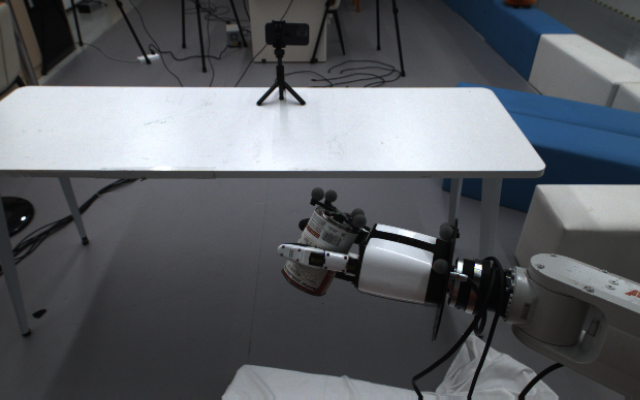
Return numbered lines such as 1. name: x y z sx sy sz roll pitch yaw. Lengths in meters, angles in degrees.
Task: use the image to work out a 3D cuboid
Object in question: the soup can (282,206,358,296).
1. soup can: 0.002 0.068 0.646 0.067 0.101 0.067 27 10 -5
